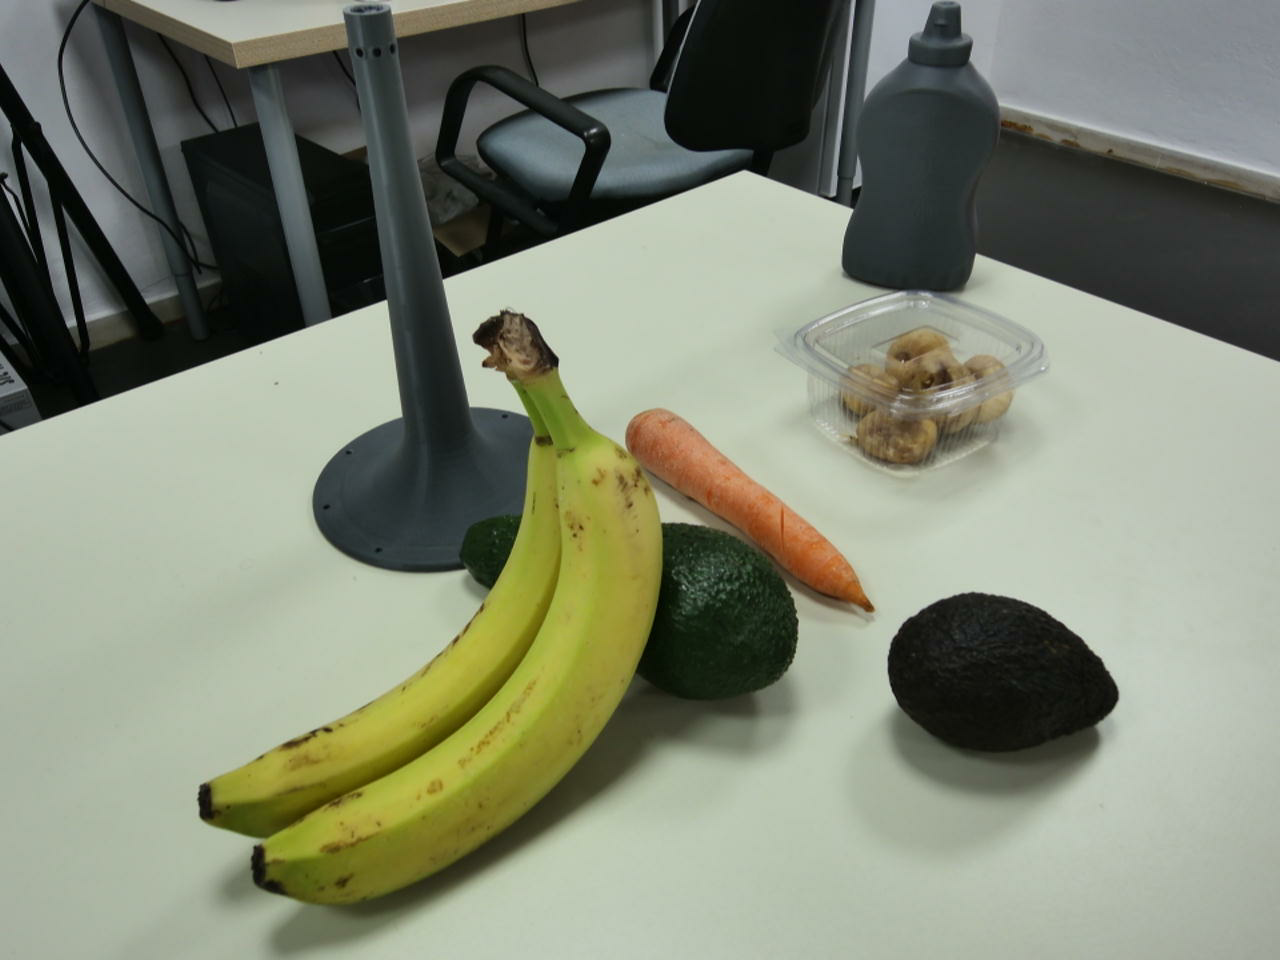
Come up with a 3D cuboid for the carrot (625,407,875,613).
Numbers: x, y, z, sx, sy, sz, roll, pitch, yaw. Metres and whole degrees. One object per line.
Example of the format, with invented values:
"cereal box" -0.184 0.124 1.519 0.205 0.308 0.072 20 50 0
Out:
"carrot" 0.060 0.011 0.570 0.039 0.041 0.196 -26 44 -31
